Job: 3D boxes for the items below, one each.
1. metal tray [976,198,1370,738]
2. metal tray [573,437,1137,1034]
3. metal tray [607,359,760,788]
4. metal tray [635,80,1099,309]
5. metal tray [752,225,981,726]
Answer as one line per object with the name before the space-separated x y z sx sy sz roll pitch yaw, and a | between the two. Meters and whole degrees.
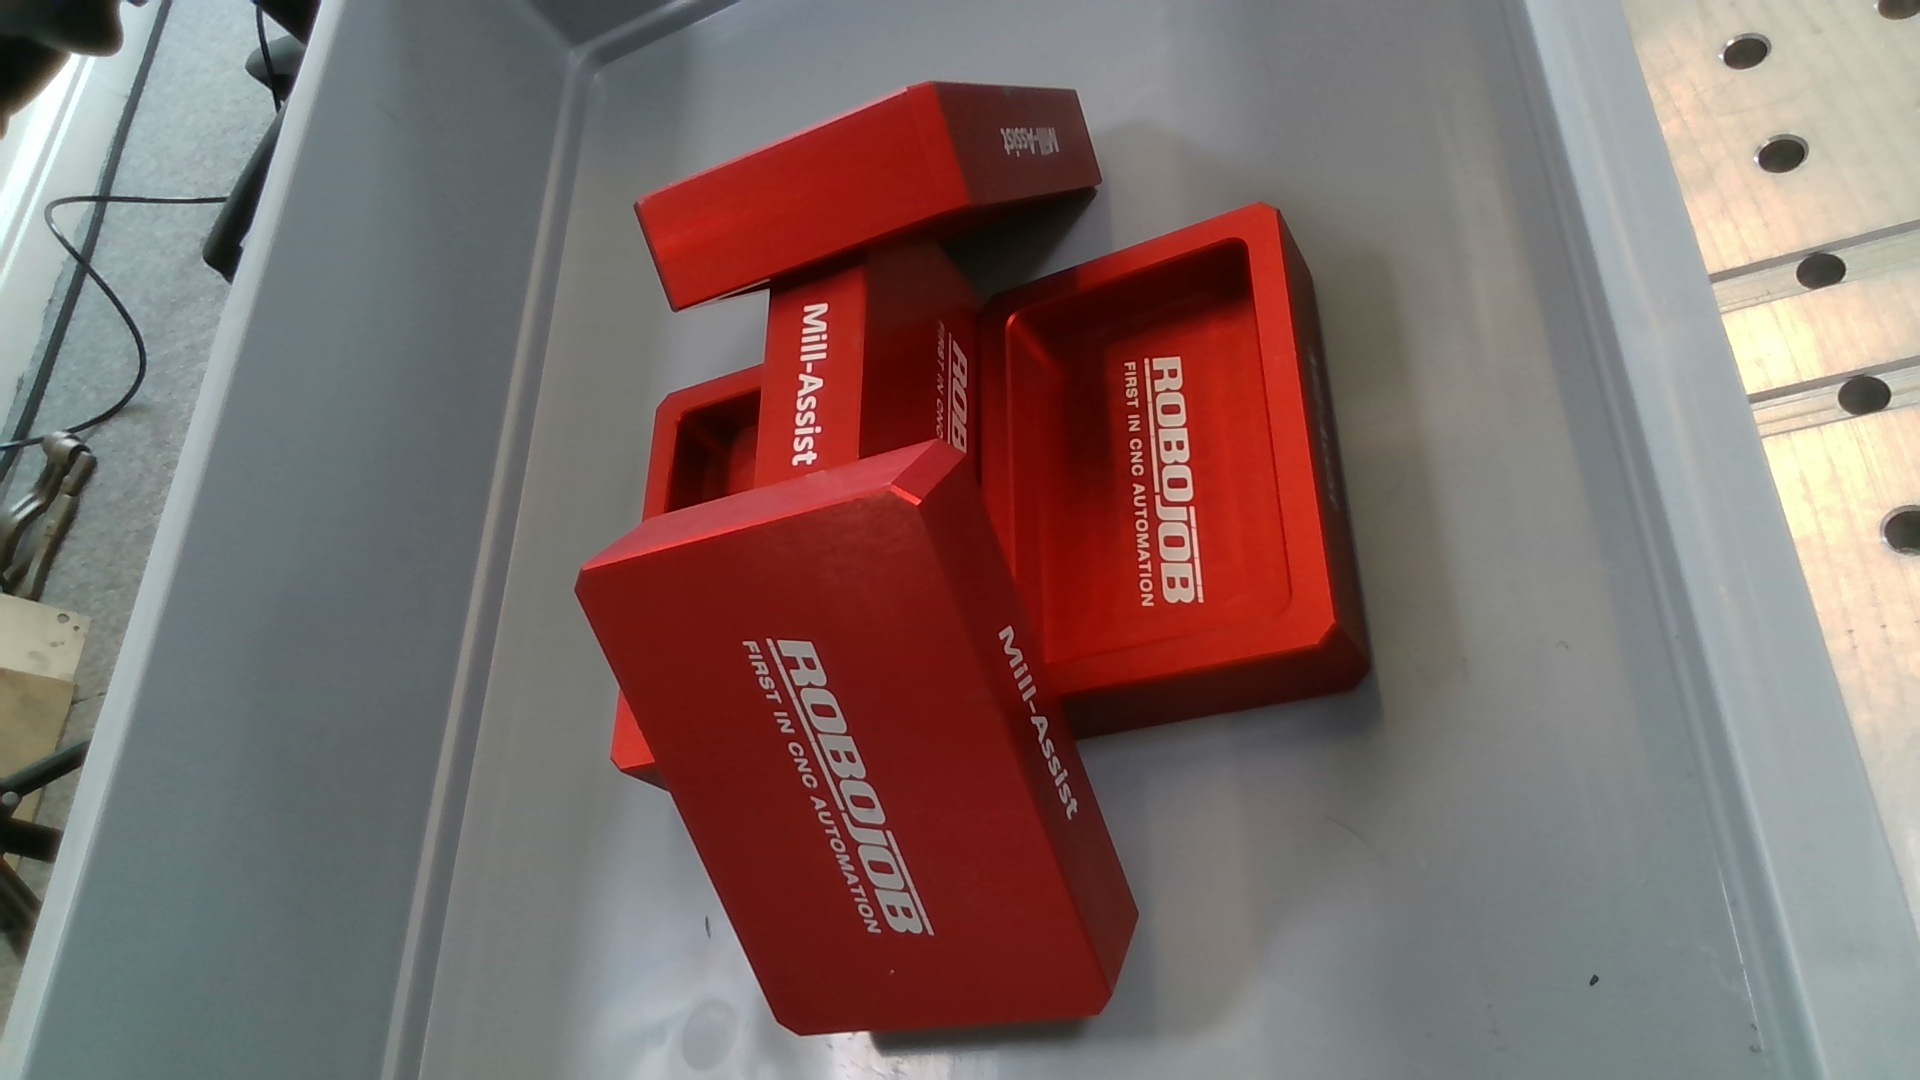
metal tray | 0.052 -0.019 0.366 0.090 0.030 0.130 -15 59 25
metal tray | -0.023 0.050 0.319 0.090 0.130 0.030 -13 17 25
metal tray | -0.056 0.005 0.418 0.090 0.030 0.130 -14 60 25
metal tray | -0.021 -0.101 0.398 0.090 0.130 0.030 -14 100 25
metal tray | -0.016 -0.021 0.370 0.030 0.090 0.130 -14 60 25
